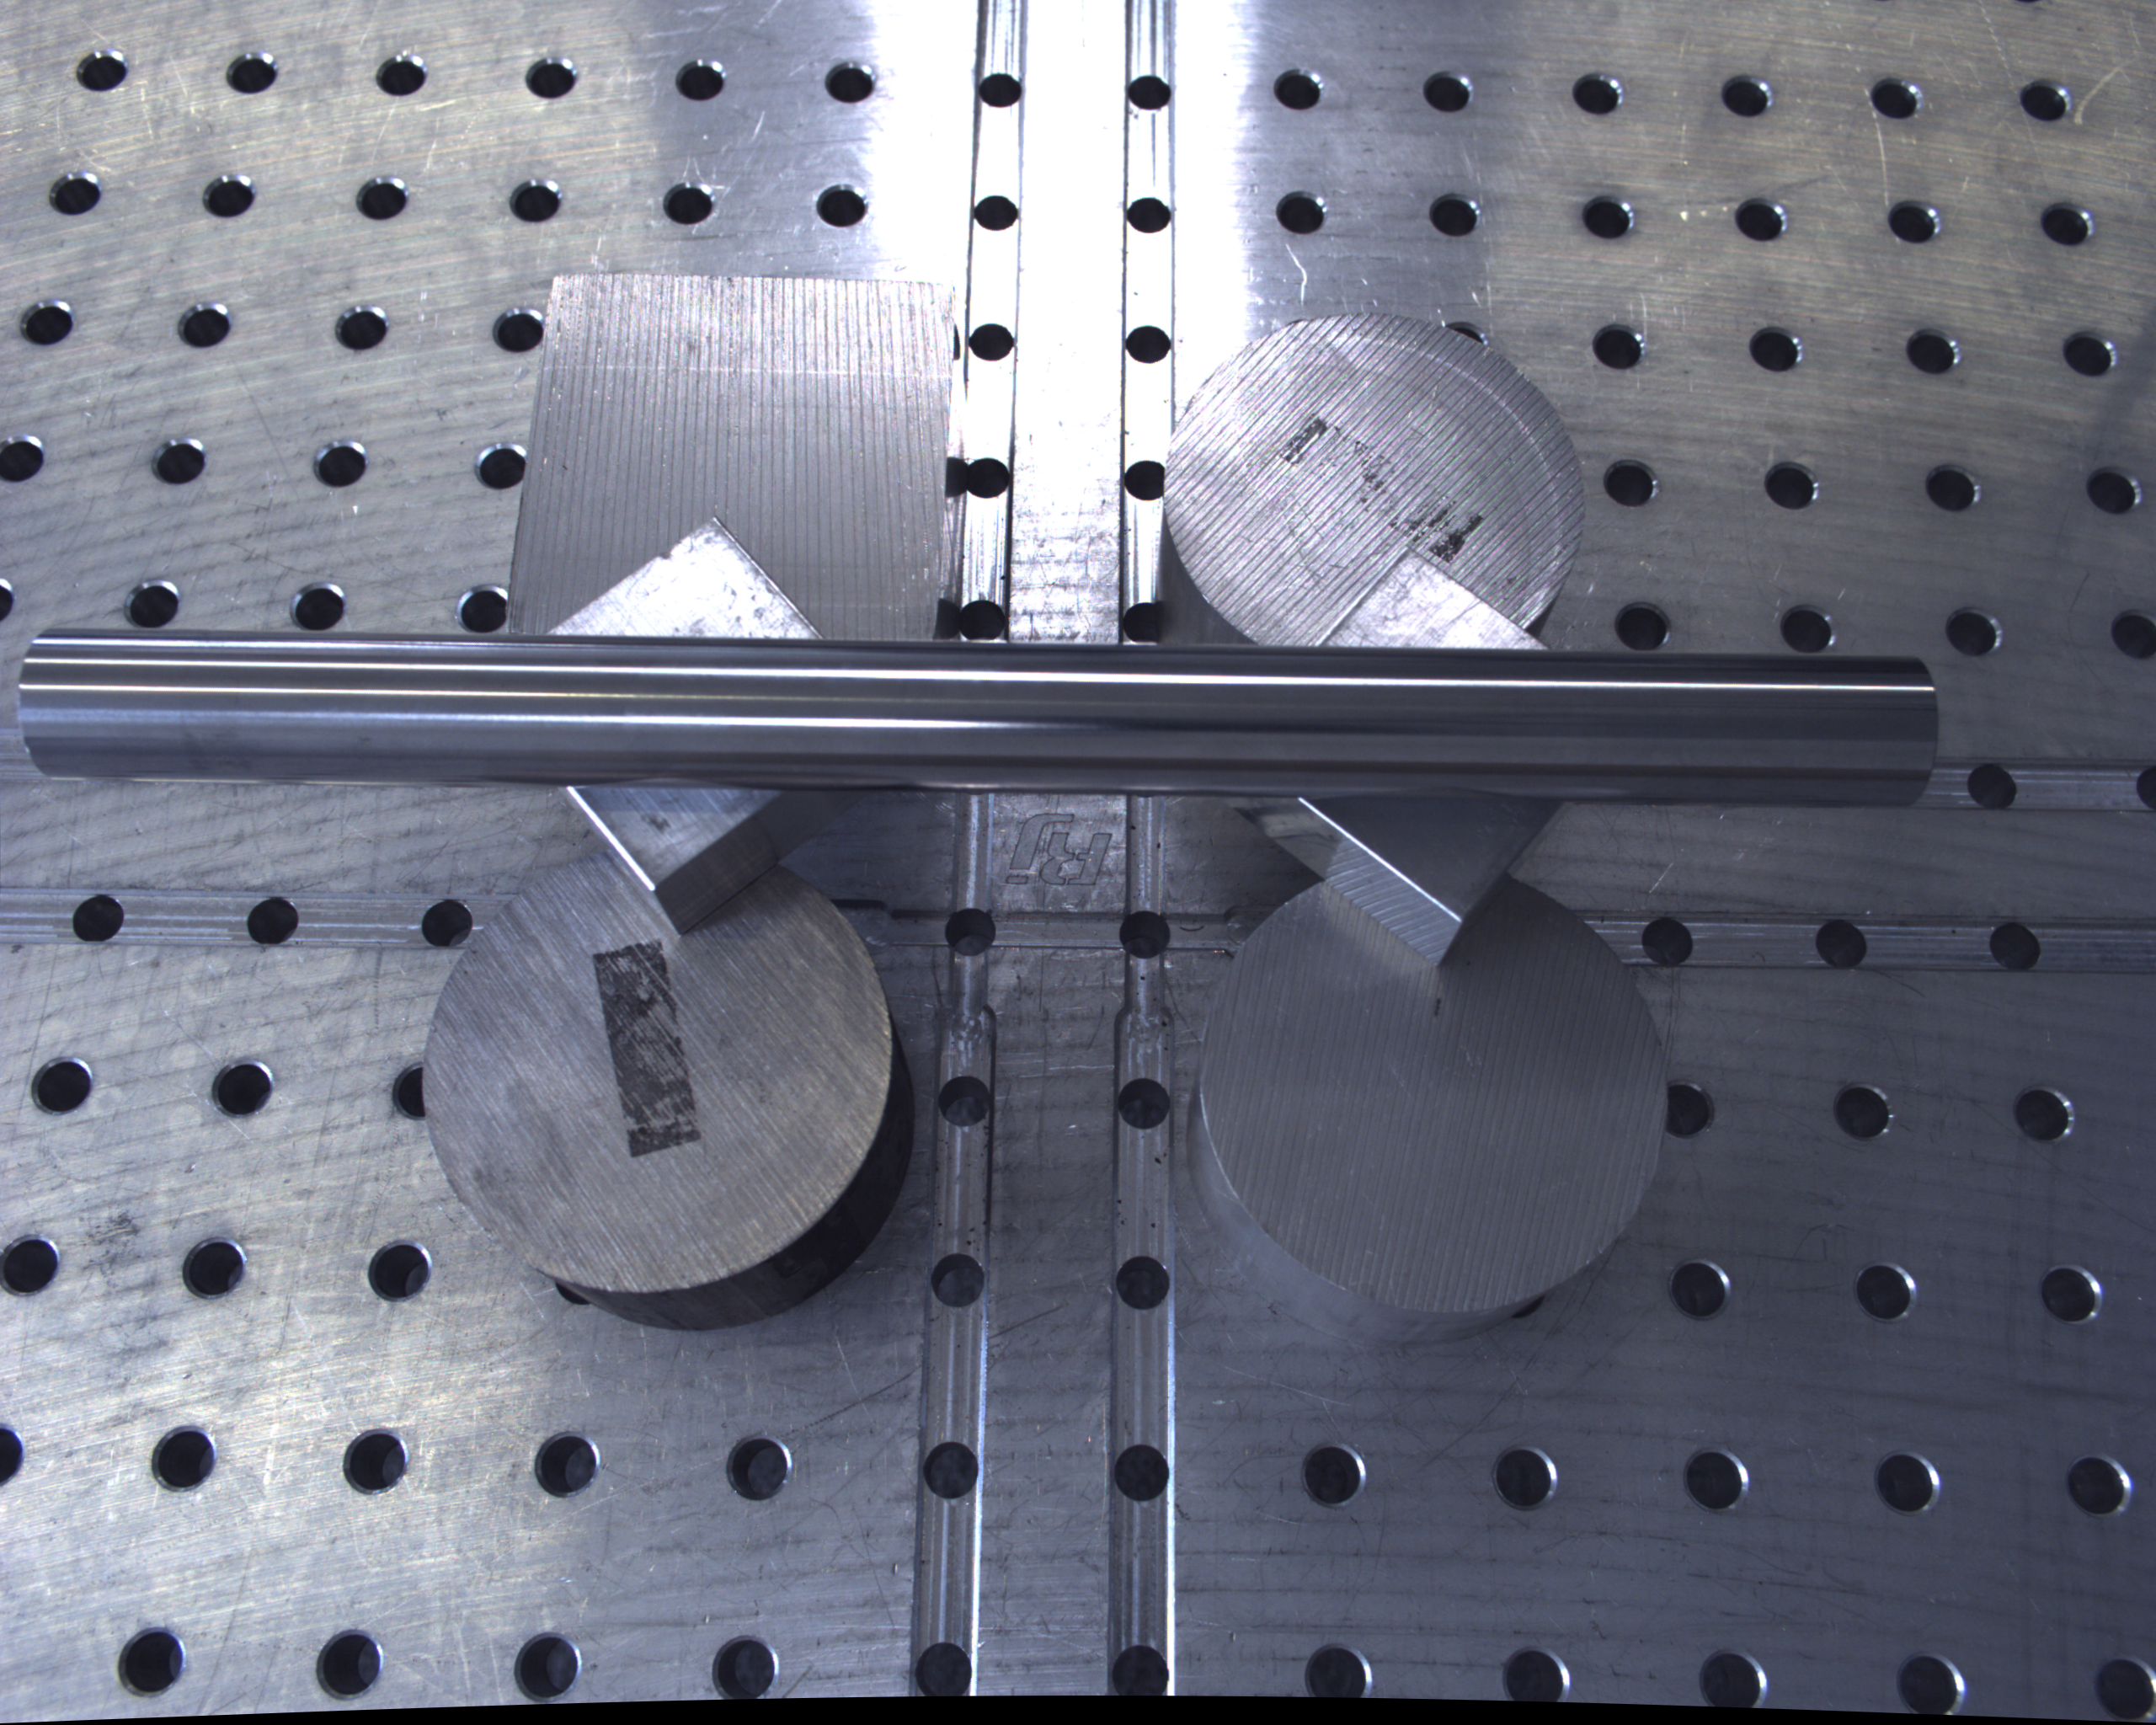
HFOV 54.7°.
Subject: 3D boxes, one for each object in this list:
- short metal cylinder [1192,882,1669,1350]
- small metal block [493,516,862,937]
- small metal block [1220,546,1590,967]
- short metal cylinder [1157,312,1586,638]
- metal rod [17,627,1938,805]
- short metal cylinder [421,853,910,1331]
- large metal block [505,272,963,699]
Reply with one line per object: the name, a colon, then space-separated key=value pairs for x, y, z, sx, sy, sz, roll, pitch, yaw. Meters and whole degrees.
short metal cylinder: x=0.061 y=0.046 z=0.382 sx=0.081 sy=0.050 sz=0.080 roll=0 pitch=70 yaw=0
small metal block: x=-0.067 y=-0.024 z=0.367 sx=0.050 sy=0.025 sz=0.050 roll=-38 pitch=75 yaw=-13
small metal block: x=0.060 y=-0.018 z=0.366 sx=0.050 sy=0.025 sz=0.050 roll=39 pitch=74 yaw=13
short metal cylinder: x=0.057 y=-0.063 z=0.422 sx=0.081 sy=0.050 sz=0.080 roll=0 pitch=70 yaw=0
metal rod: x=-0.016 y=-0.024 z=0.340 sx=0.302 sy=0.025 sz=0.025 roll=1 pitch=70 yaw=0
short metal cylinder: x=-0.072 y=0.042 z=0.381 sx=0.081 sy=0.050 sz=0.080 roll=0 pitch=70 yaw=0
large metal block: x=-0.065 y=-0.070 z=0.423 sx=0.080 sy=0.050 sz=0.080 roll=1 pitch=70 yaw=0
